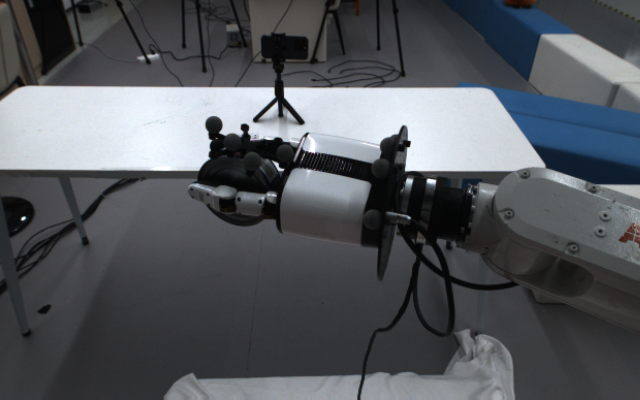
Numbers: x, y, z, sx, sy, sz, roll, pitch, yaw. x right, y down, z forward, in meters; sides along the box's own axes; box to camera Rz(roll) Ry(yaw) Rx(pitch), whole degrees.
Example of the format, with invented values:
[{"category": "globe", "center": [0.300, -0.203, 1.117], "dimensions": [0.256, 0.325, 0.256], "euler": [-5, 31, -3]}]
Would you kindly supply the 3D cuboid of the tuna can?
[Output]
[{"category": "tuna can", "center": [-0.083, -0.017, 0.522], "dimensions": [0.085, 0.085, 0.034], "euler": [12, 33, 14]}]
